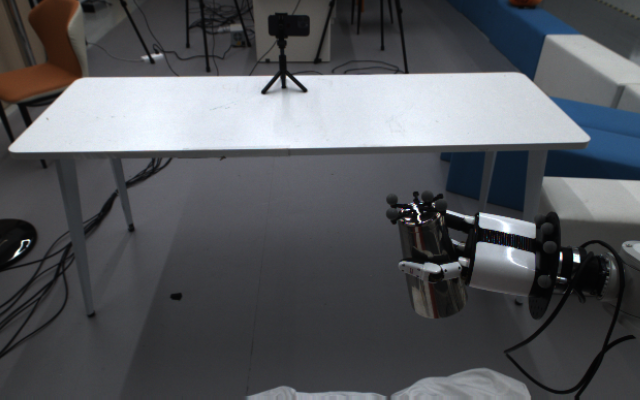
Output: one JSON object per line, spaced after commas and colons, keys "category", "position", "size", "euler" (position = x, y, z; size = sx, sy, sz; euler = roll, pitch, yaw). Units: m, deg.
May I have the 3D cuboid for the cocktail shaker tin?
{"category": "cocktail shaker tin", "position": [0.169, 0.088, 0.745], "size": [0.093, 0.170, 0.093], "euler": [-15, 28, 8]}
